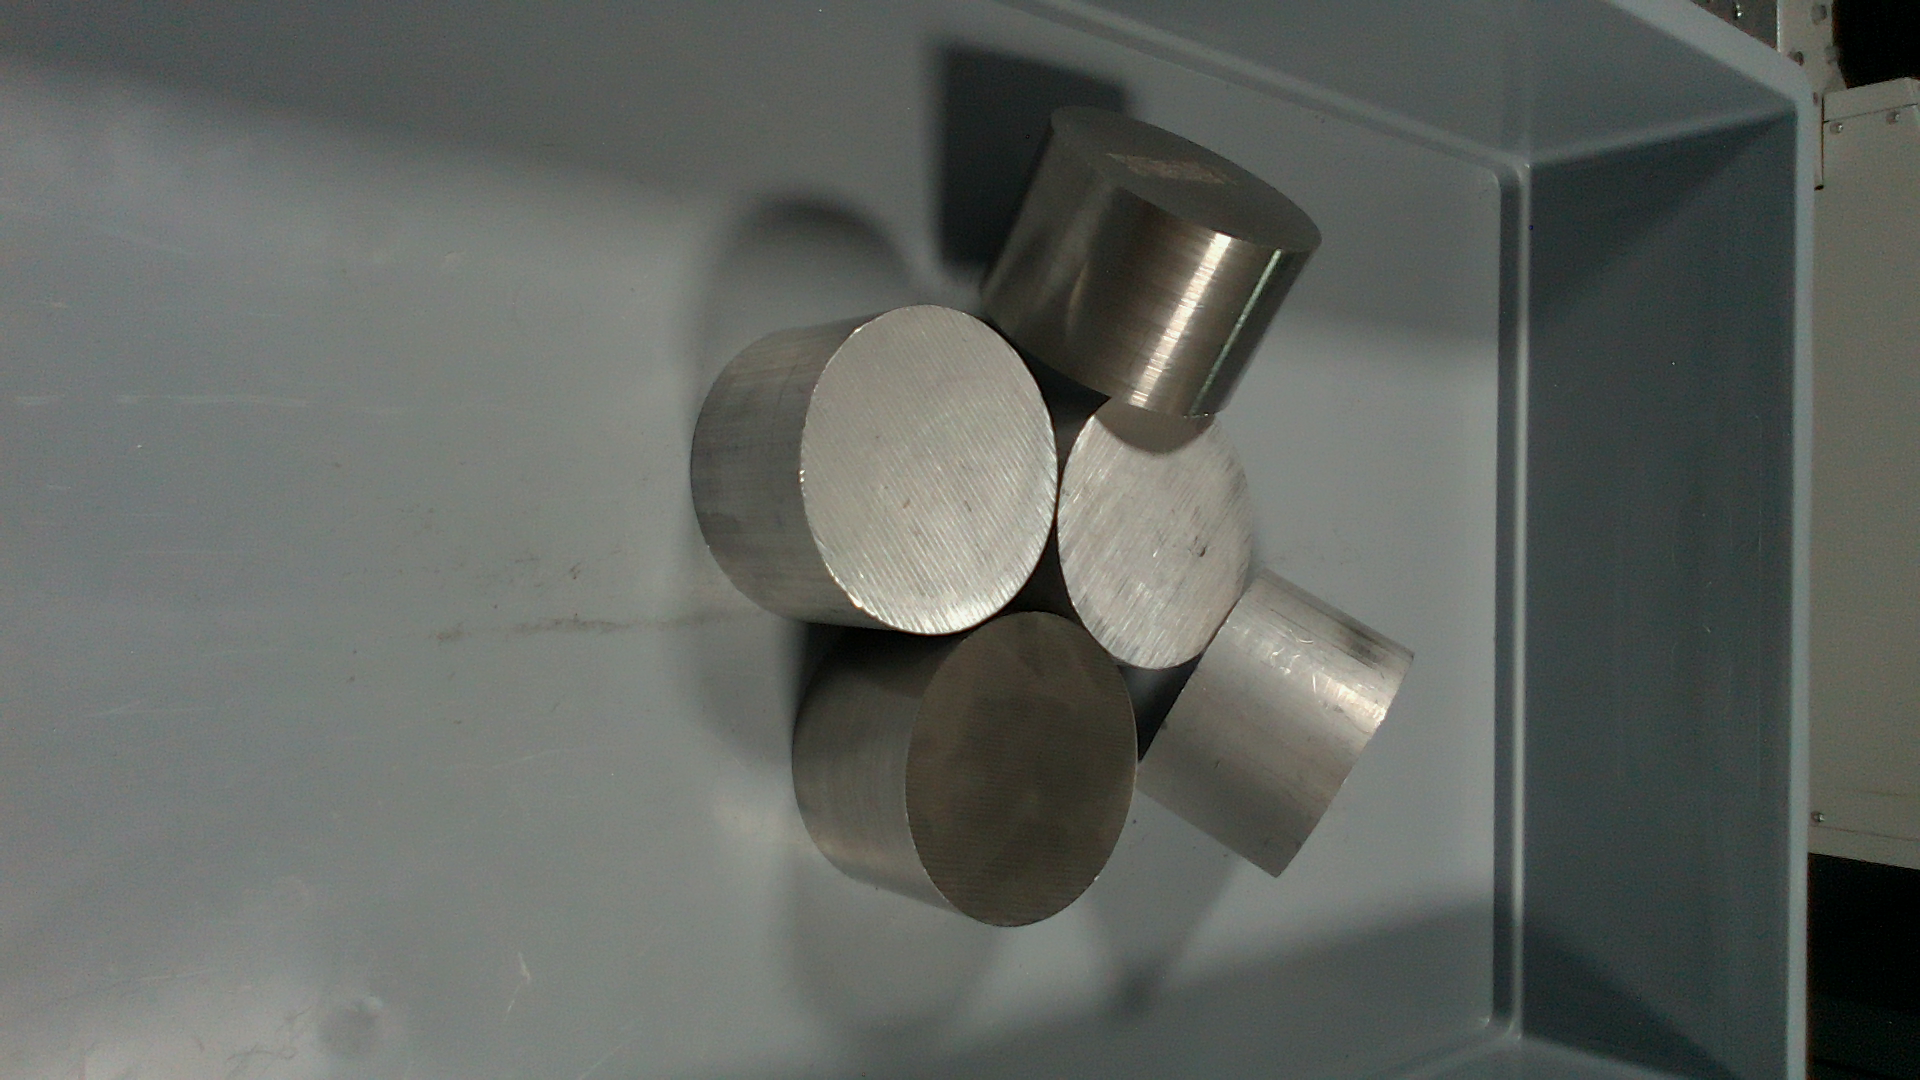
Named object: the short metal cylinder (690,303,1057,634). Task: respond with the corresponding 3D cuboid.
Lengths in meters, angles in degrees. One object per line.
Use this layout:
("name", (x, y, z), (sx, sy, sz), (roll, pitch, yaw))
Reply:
("short metal cylinder", (-0.021, -0.017, 0.353), (0.080, 0.050, 0.080), (0, 90, -40))

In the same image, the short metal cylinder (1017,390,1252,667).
("short metal cylinder", (0.040, -0.004, 0.404), (0.080, 0.050, 0.080), (0, 90, -40))

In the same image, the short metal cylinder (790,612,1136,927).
("short metal cylinder", (0.002, 0.059, 0.372), (0.080, 0.050, 0.080), (0, 90, -40))

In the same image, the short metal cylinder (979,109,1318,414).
("short metal cylinder", (0.052, -0.079, 0.385), (0.080, 0.080, 0.050), (-4, 131, -40))

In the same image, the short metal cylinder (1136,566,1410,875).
("short metal cylinder", (0.095, 0.055, 0.424), (0.080, 0.050, 0.080), (-53, 165, -21))
